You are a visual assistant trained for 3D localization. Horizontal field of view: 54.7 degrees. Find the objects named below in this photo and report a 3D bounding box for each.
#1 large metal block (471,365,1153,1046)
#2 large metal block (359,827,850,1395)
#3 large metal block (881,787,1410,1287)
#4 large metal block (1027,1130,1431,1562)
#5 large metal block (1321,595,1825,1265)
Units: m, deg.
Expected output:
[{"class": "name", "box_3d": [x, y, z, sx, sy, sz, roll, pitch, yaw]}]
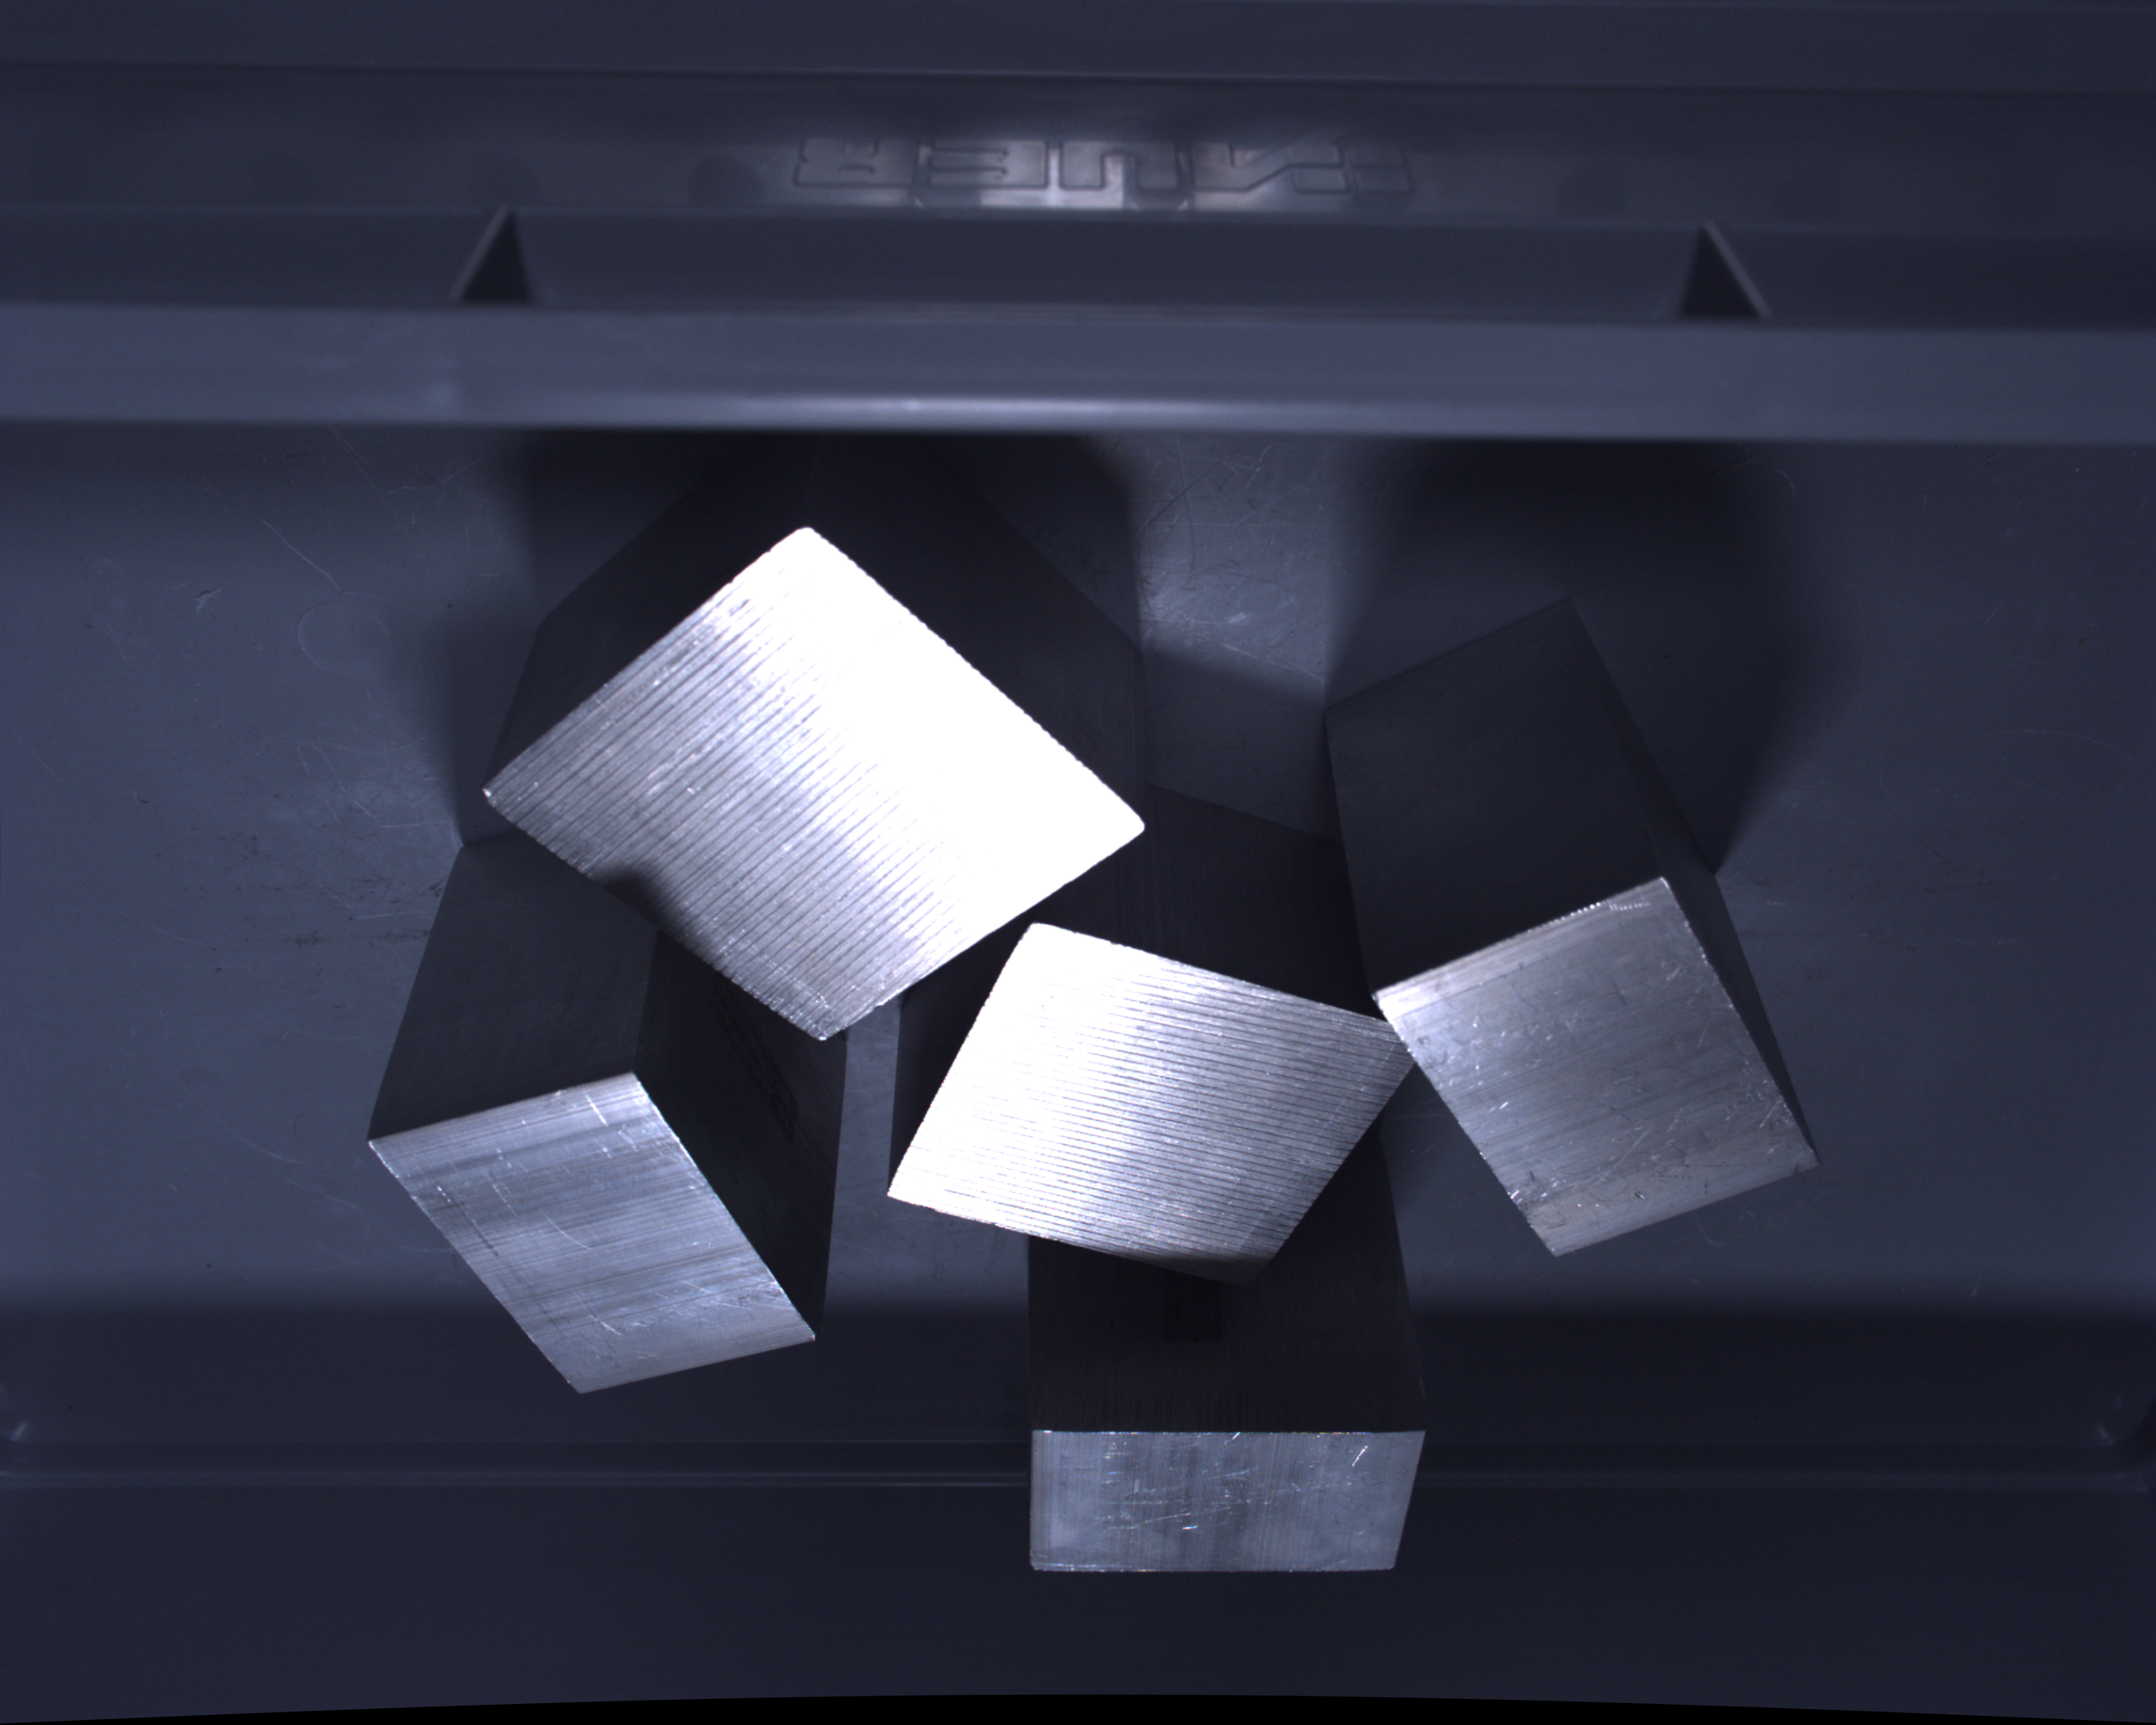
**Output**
[{"class": "large metal block", "box_3d": [-0.044, -0.025, 0.368, 0.080, 0.050, 0.080, -35, 123, 25]}, {"class": "large metal block", "box_3d": [-0.086, 0.043, 0.407, 0.050, 0.080, 0.080, -15, 129, 12]}, {"class": "large metal block", "box_3d": [0.013, 0.033, 0.419, 0.081, 0.050, 0.079, 17, 128, -15]}, {"class": "large metal block", "box_3d": [0.030, 0.106, 0.462, 0.081, 0.080, 0.050, 1, 130, -1]}, {"class": "large metal block", "box_3d": [0.089, 0.012, 0.382, 0.050, 0.080, 0.080, -25, 126, 19]}]
